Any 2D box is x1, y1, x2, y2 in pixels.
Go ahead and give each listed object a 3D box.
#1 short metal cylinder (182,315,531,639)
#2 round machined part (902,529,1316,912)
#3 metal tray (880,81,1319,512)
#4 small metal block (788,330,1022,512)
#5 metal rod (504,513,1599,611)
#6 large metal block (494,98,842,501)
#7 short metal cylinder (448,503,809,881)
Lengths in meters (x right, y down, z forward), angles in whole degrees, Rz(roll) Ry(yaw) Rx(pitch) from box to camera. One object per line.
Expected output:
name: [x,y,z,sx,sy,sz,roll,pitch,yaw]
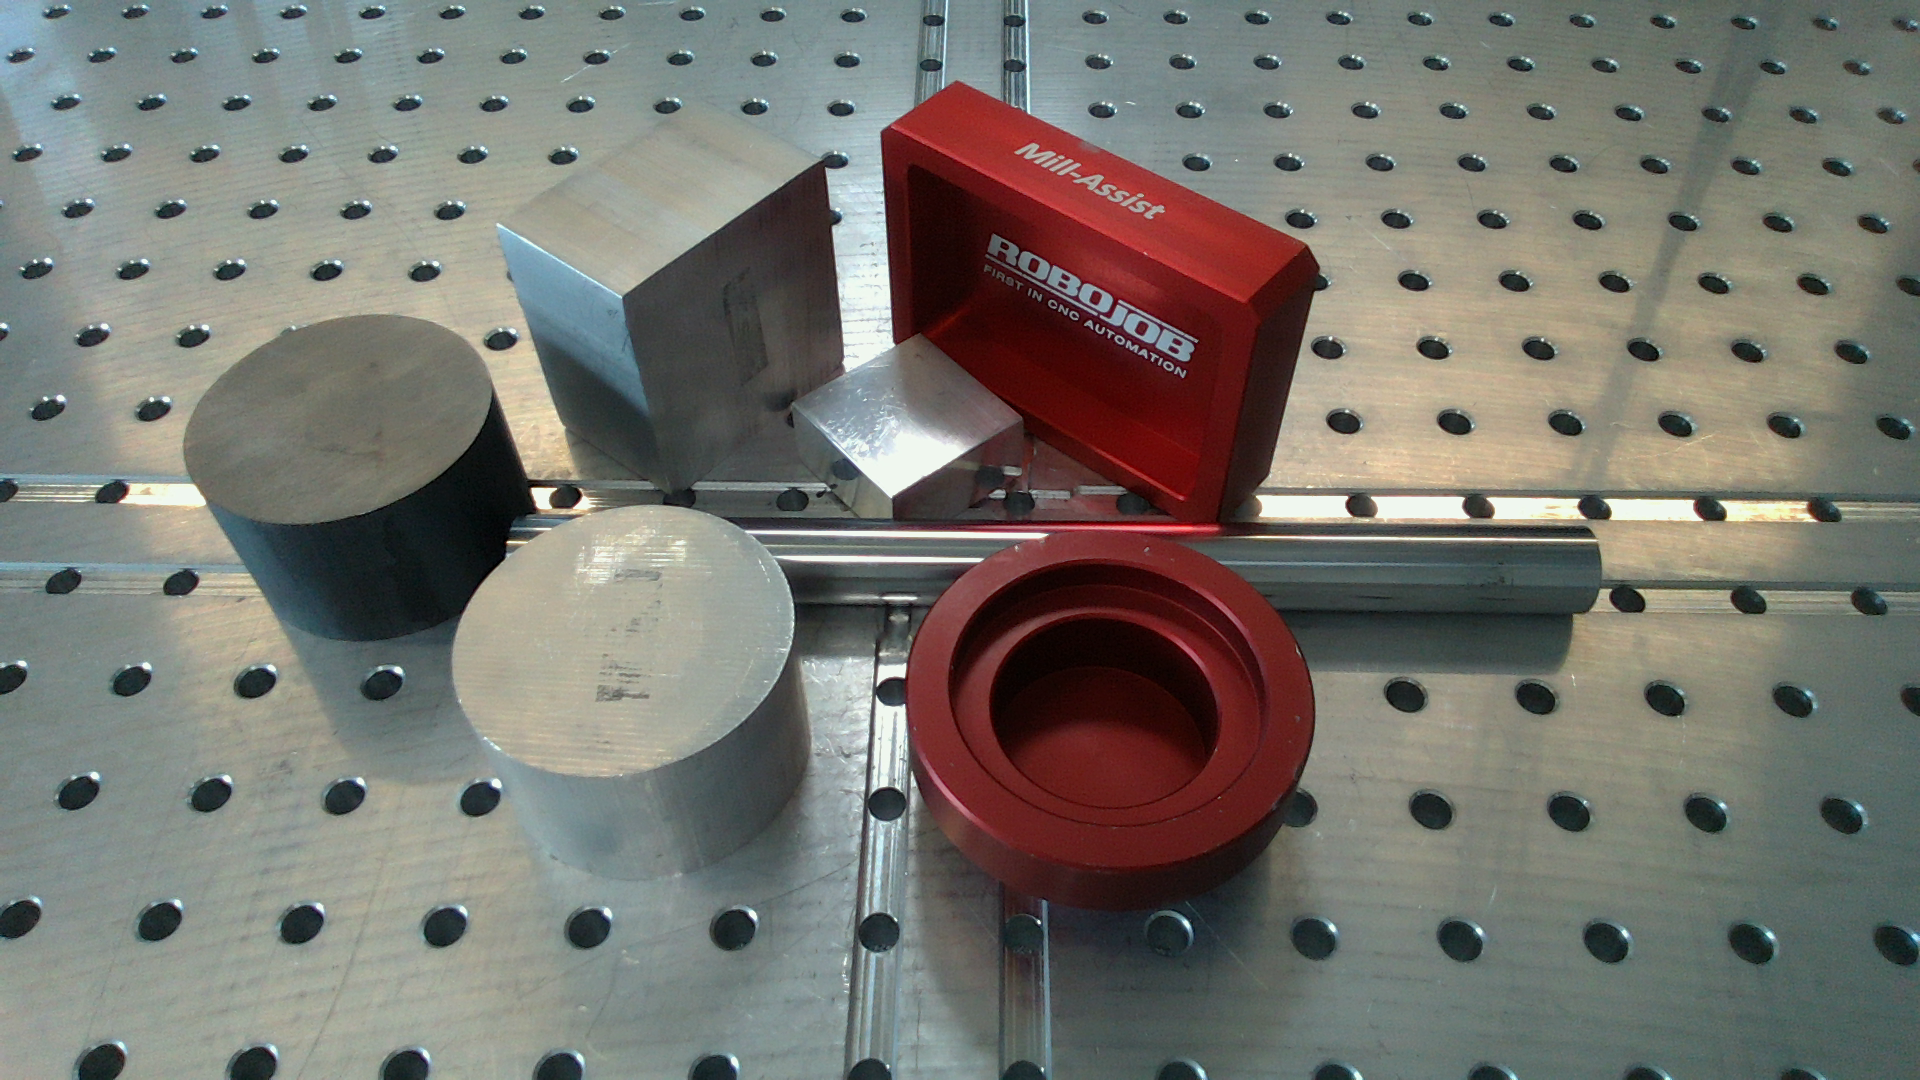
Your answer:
short metal cylinder: [-0.169,-0.019,0.393,0.080,0.050,0.080,0,50,0]
round machined part: [0.035,0.048,0.344,0.098,0.042,0.098,0,50,0]
metal tray: [0.036,-0.069,0.410,0.130,0.090,0.030,33,57,25]
small metal block: [-0.016,-0.031,0.421,0.050,0.025,0.050,-32,57,-24]
metal rod: [0.025,0.006,0.389,0.300,0.025,0.025,1,50,0]
large metal block: [-0.084,-0.073,0.421,0.050,0.080,0.080,32,57,23]
short metal cylinder: [-0.080,0.037,0.346,0.080,0.050,0.080,0,50,0]
